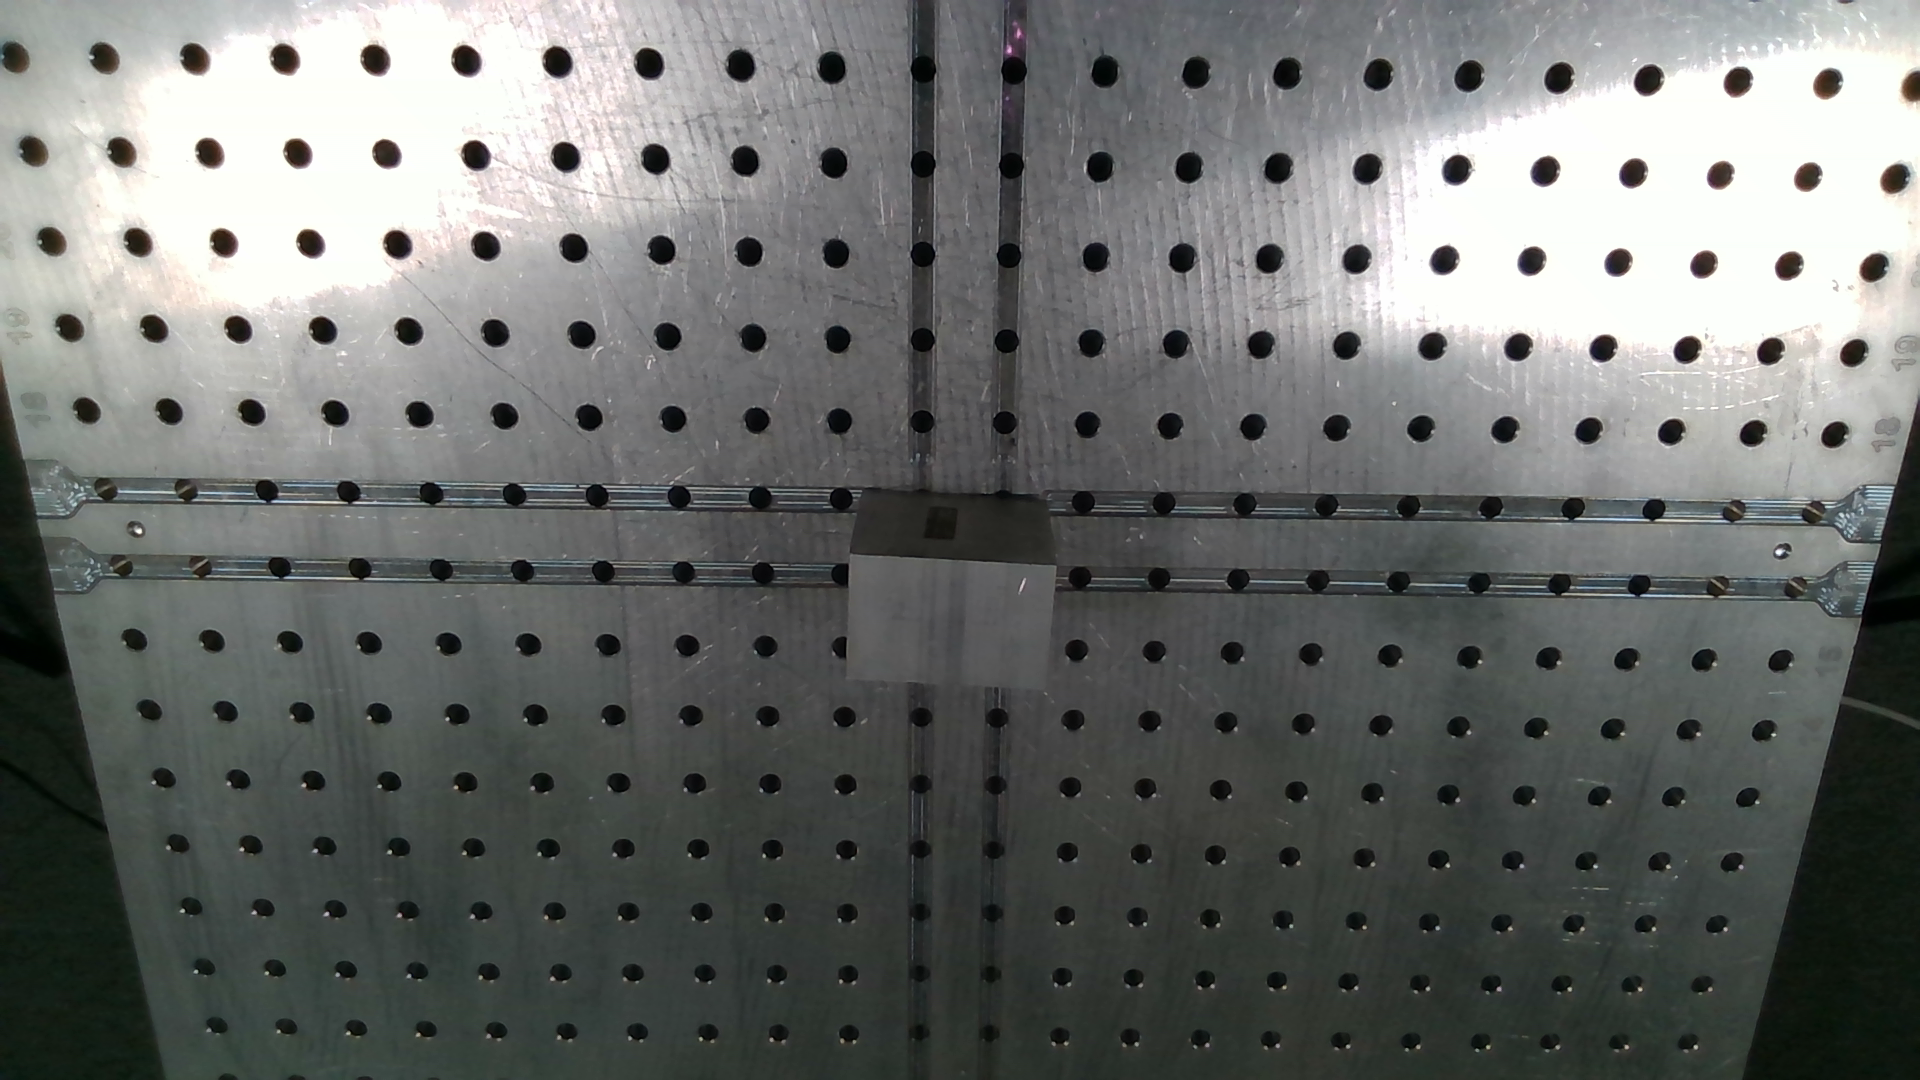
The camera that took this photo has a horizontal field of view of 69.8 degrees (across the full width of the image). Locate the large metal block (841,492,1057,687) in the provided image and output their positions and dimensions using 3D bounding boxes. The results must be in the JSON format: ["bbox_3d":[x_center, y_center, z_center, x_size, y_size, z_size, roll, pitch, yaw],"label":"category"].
[{"bbox_3d":[-0.005,0.018,0.564,0.080,0.080,0.050,3,110,-1],"label":"large metal block"}]
